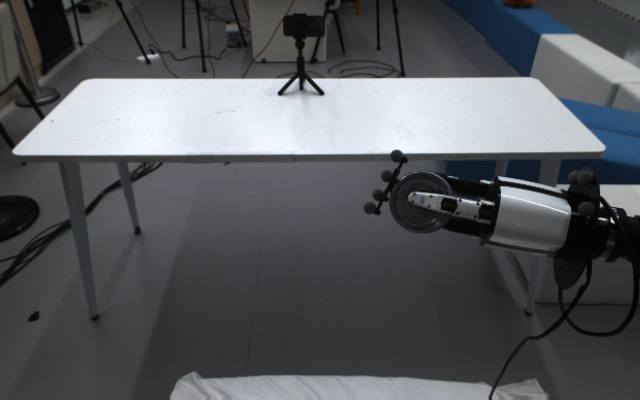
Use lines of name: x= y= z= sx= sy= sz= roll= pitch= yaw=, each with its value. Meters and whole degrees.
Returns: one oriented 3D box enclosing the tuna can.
tuna can: x=0.139 y=-0.001 z=0.655 sx=0.085 sy=0.085 sz=0.034 roll=9 pitch=4 yaw=10
